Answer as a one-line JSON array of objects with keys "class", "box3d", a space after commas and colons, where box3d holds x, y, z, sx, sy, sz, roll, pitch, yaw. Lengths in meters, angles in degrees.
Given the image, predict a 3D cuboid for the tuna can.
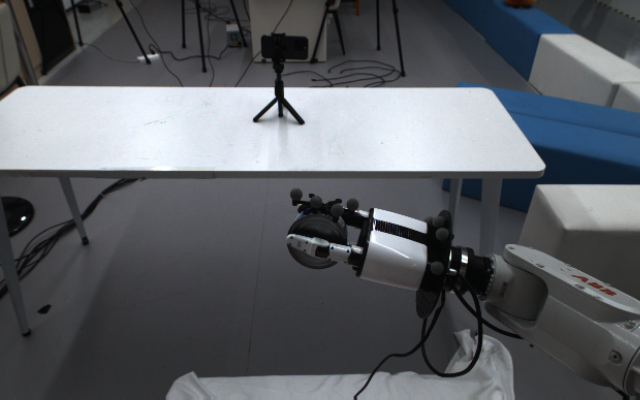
[{"class": "tuna can", "box3d": [-0.002, 0.053, 0.692, 0.085, 0.085, 0.034, 5, 18, 4]}]
